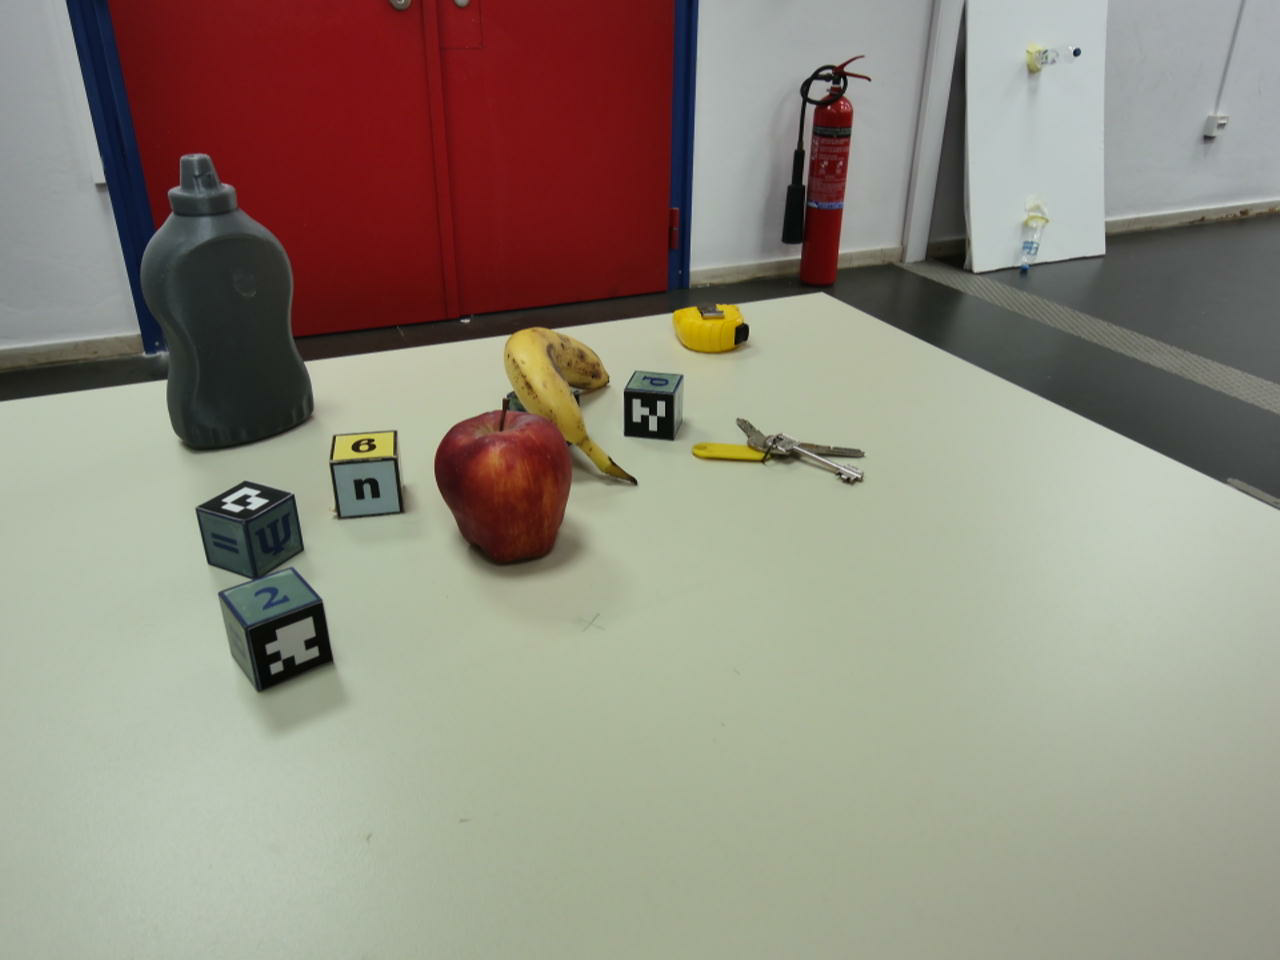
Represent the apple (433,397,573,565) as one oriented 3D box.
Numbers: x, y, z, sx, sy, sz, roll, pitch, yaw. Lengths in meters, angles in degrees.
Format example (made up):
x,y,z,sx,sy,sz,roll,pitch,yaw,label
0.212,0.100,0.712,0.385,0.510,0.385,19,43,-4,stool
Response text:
x,y,z,sx,sy,sz,roll,pitch,yaw,label
-0.077,-0.003,0.568,0.083,0.090,0.083,0,26,0,apple
